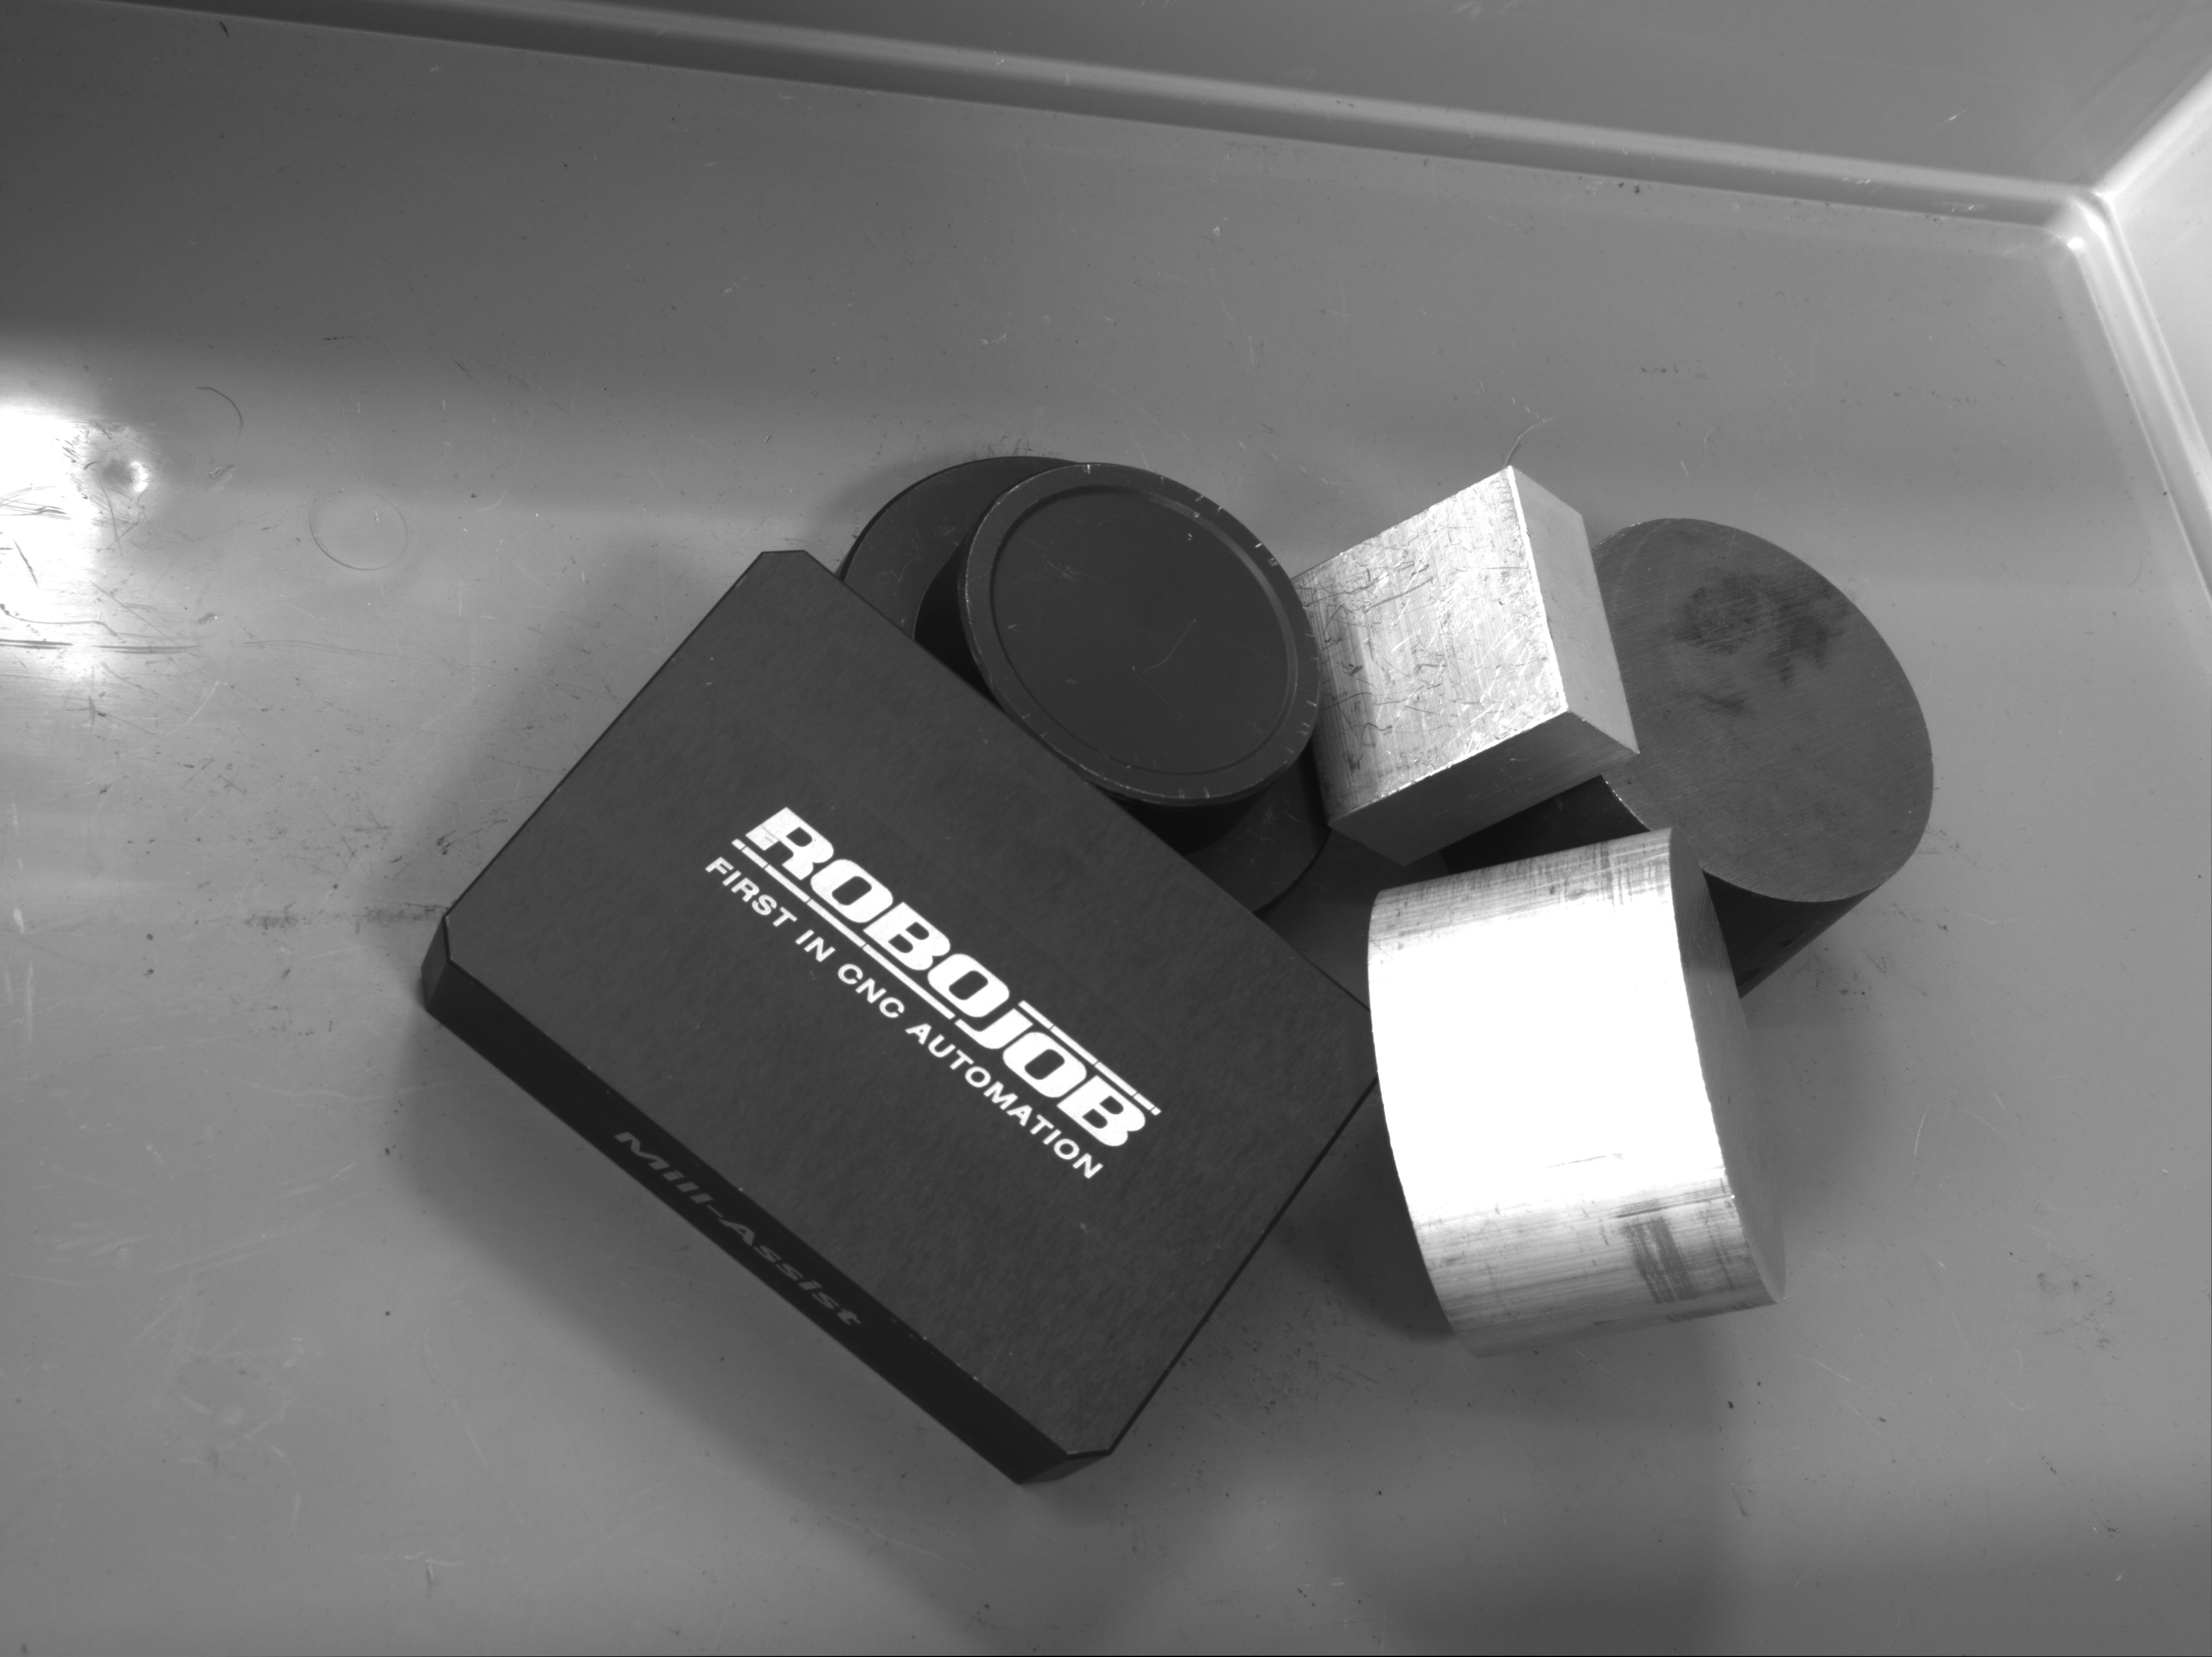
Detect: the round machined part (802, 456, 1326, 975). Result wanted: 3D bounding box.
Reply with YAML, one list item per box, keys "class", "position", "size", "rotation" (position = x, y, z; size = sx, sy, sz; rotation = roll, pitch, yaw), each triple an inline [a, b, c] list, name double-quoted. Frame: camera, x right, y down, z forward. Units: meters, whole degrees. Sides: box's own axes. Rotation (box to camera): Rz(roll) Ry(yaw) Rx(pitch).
- class: "round machined part"
  position: [-0.002, -0.025, 0.640]
  size: [0.098, 0.042, 0.098]
  rotation: [13, 56, -21]

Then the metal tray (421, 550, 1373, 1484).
- class: "metal tray"
  position: [-0.031, 0.030, 0.585]
  size: [0.130, 0.030, 0.090]
  rotation: [39, 66, -2]

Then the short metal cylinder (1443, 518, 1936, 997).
- class: "short metal cylinder"
  position: [0.107, -0.011, 0.686]
  size: [0.080, 0.050, 0.080]
  rotation: [13, 56, -21]

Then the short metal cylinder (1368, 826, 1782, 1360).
- class: "short metal cylinder"
  position: [0.079, 0.044, 0.610]
  size: [0.050, 0.080, 0.080]
  rotation: [-13, 59, 14]

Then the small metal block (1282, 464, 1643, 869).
- class: "small metal block"
  position: [0.062, -0.028, 0.649]
  size: [0.025, 0.050, 0.050]
  rotation: [27, 45, -48]
